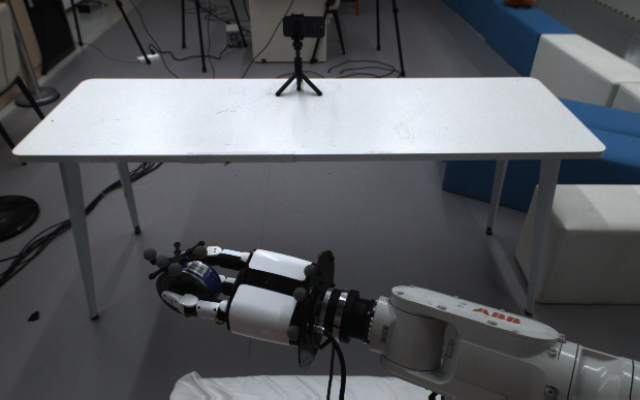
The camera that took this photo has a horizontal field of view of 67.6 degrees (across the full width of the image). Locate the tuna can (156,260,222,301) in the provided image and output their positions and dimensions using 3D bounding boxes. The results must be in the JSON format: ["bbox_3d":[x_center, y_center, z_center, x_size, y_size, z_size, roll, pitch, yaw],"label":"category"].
[{"bbox_3d":[-0.175,0.123,0.677,0.085,0.085,0.034,9,33,10],"label":"tuna can"}]
